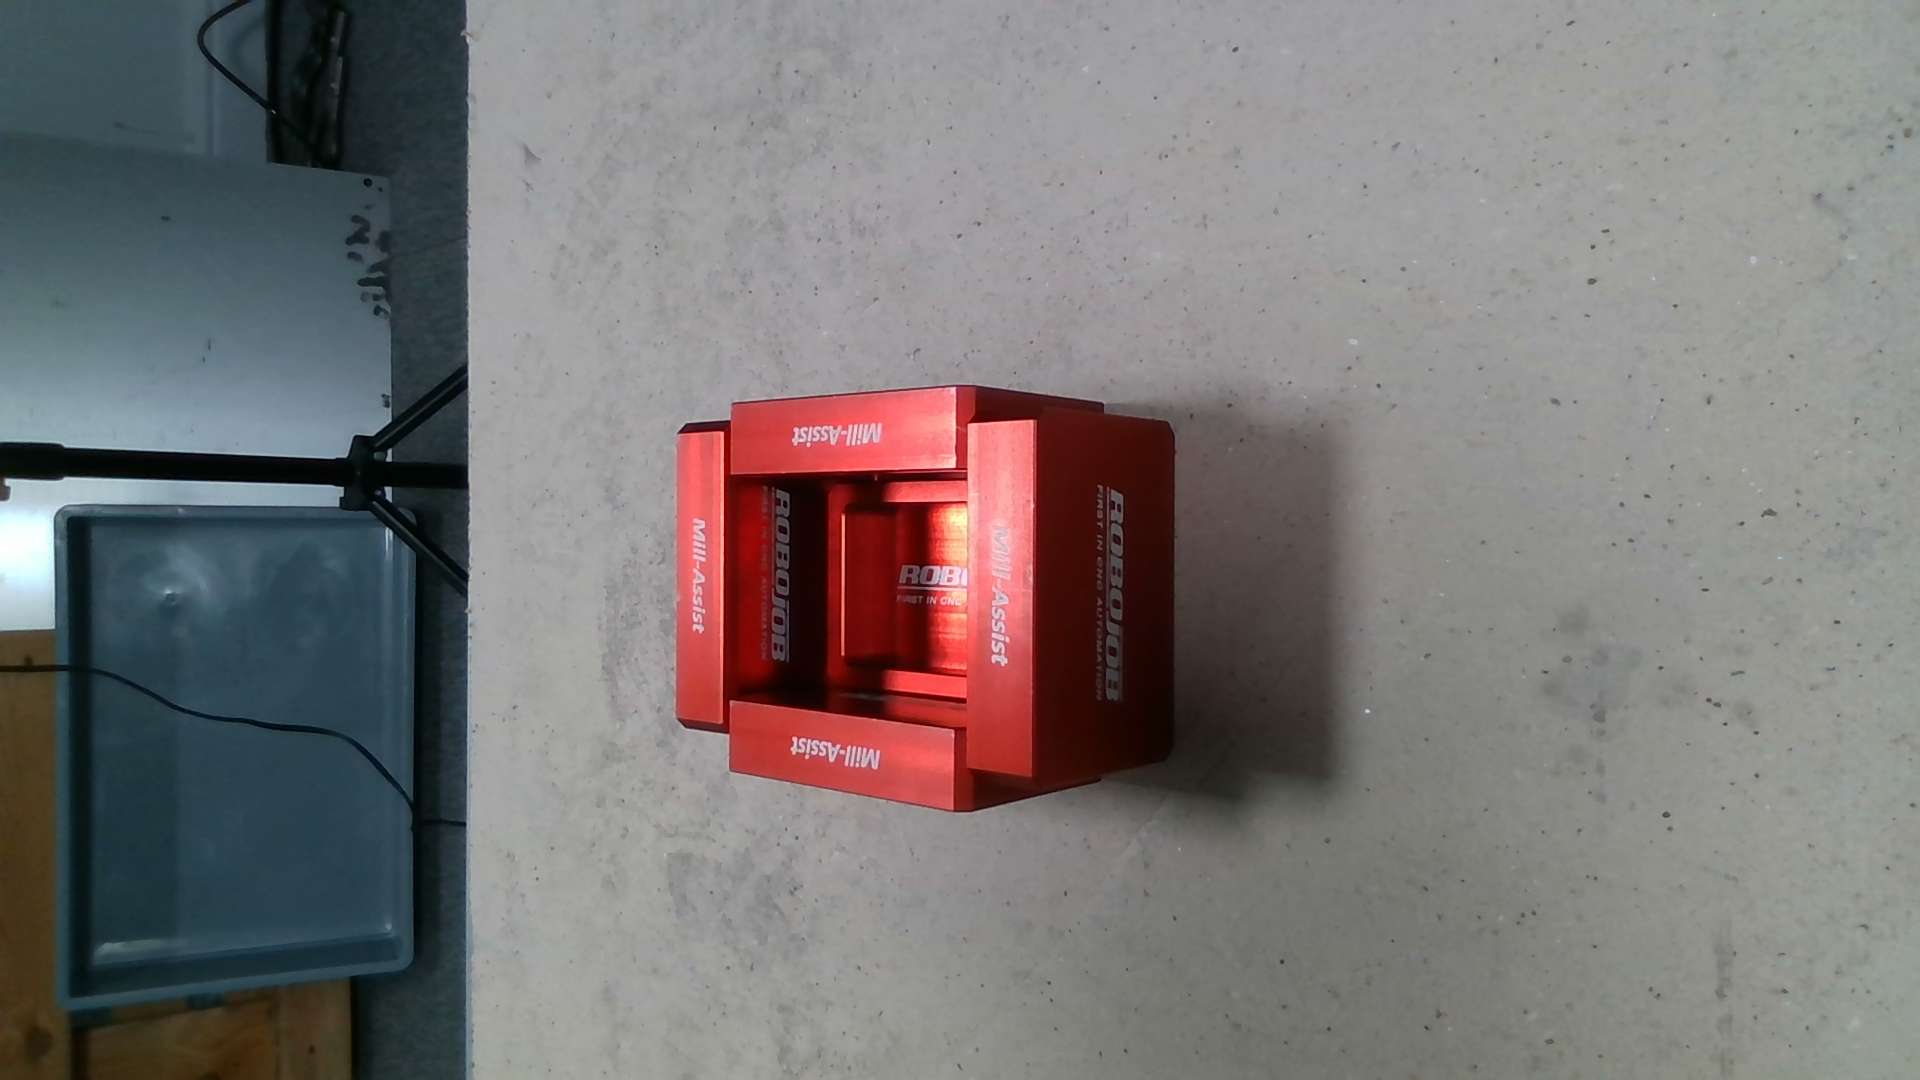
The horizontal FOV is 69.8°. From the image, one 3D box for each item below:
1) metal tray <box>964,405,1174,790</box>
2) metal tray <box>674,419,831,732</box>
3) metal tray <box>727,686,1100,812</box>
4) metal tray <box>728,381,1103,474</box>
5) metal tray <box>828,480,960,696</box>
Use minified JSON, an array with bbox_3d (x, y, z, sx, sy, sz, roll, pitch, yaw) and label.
[{"bbox_3d":[0.042,0.019,0.504,0.030,0.090,0.130,1,91,40],"label":"metal tray"},{"bbox_3d":[-0.081,0.015,0.607,0.030,0.090,0.130,1,91,40],"label":"metal tray"},{"bbox_3d":[-0.020,0.080,0.557,0.130,0.090,0.030,1,91,40],"label":"metal tray"},{"bbox_3d":[-0.019,-0.041,0.555,0.130,0.090,0.030,1,91,40],"label":"metal tray"},{"bbox_3d":[0.000,0.019,0.579,0.130,0.030,0.090,1,91,40],"label":"metal tray"}]
